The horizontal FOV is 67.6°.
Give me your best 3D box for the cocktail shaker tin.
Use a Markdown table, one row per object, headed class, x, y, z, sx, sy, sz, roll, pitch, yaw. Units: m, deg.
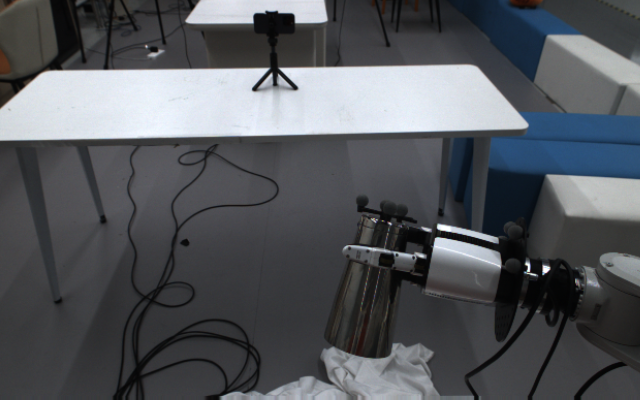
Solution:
| class | x | y | z | sx | sy | sz | roll | pitch | yaw |
| --- | --- | --- | --- | --- | --- | --- | --- | --- | --- |
| cocktail shaker tin | 0.070 | 0.108 | 0.648 | 0.093 | 0.170 | 0.093 | 12 | 3 | -1 |
